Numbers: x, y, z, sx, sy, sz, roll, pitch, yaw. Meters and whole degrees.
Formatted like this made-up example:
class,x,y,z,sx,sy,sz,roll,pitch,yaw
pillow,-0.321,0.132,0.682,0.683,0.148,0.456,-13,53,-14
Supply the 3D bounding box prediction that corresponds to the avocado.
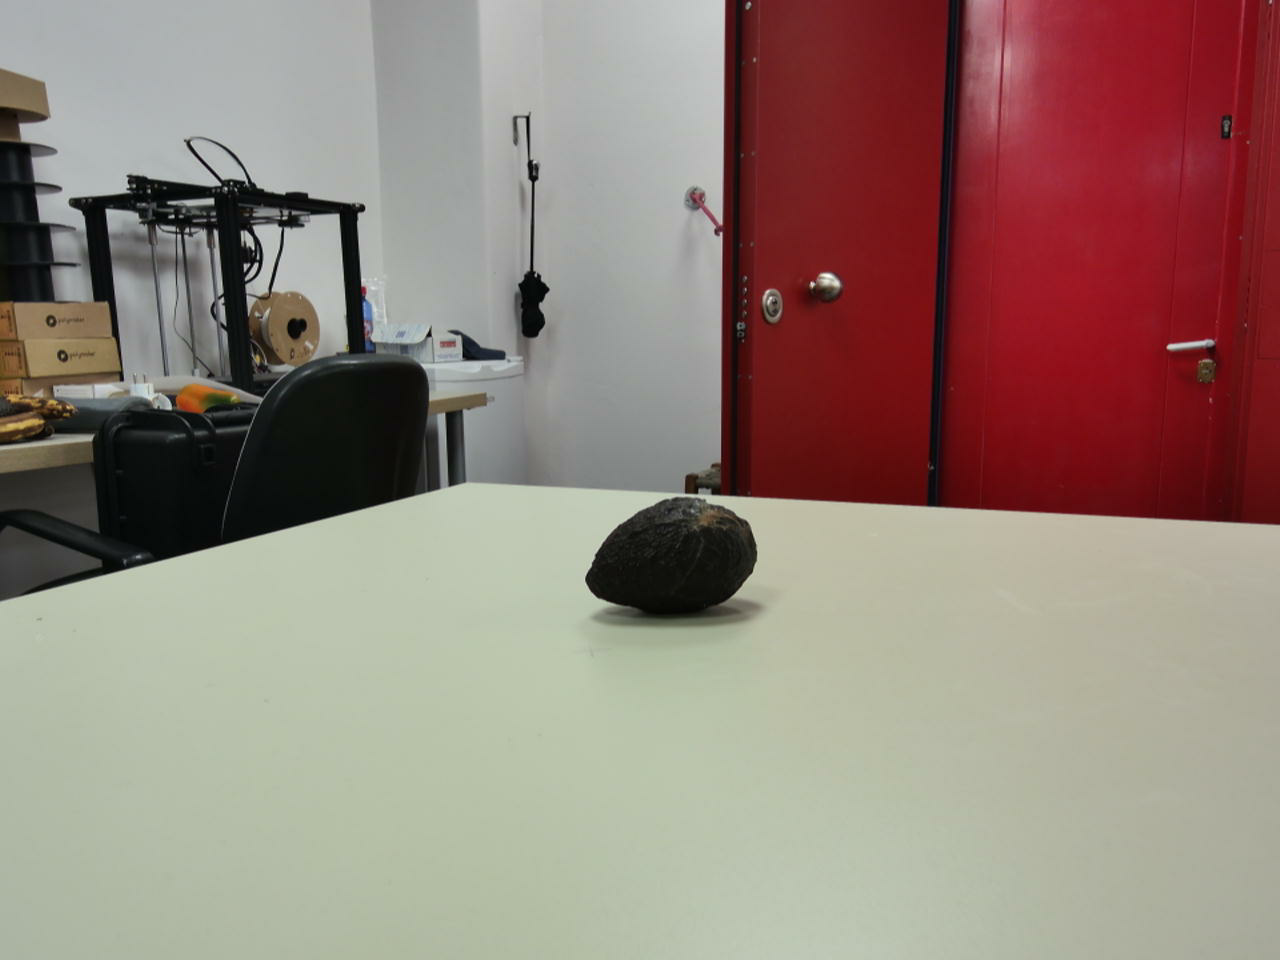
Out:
class,x,y,z,sx,sy,sz,roll,pitch,yaw
avocado,0.017,0.041,0.545,0.092,0.062,0.062,1,6,0
